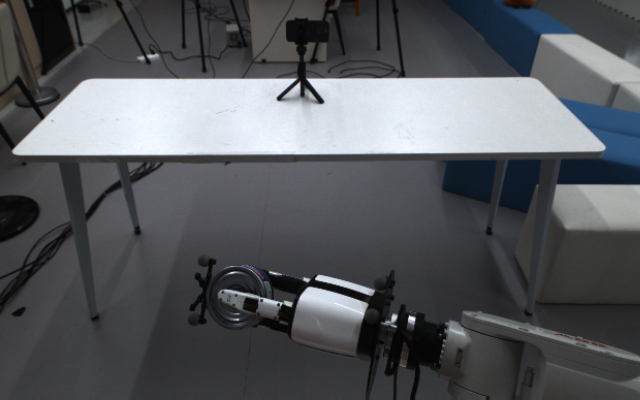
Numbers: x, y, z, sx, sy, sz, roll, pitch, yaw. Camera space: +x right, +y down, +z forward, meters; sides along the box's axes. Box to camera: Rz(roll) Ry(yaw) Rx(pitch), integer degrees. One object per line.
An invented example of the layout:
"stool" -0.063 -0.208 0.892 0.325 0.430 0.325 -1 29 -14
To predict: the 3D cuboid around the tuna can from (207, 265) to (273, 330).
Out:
"tuna can" -0.104 0.128 0.646 0.085 0.085 0.034 9 -6 10
